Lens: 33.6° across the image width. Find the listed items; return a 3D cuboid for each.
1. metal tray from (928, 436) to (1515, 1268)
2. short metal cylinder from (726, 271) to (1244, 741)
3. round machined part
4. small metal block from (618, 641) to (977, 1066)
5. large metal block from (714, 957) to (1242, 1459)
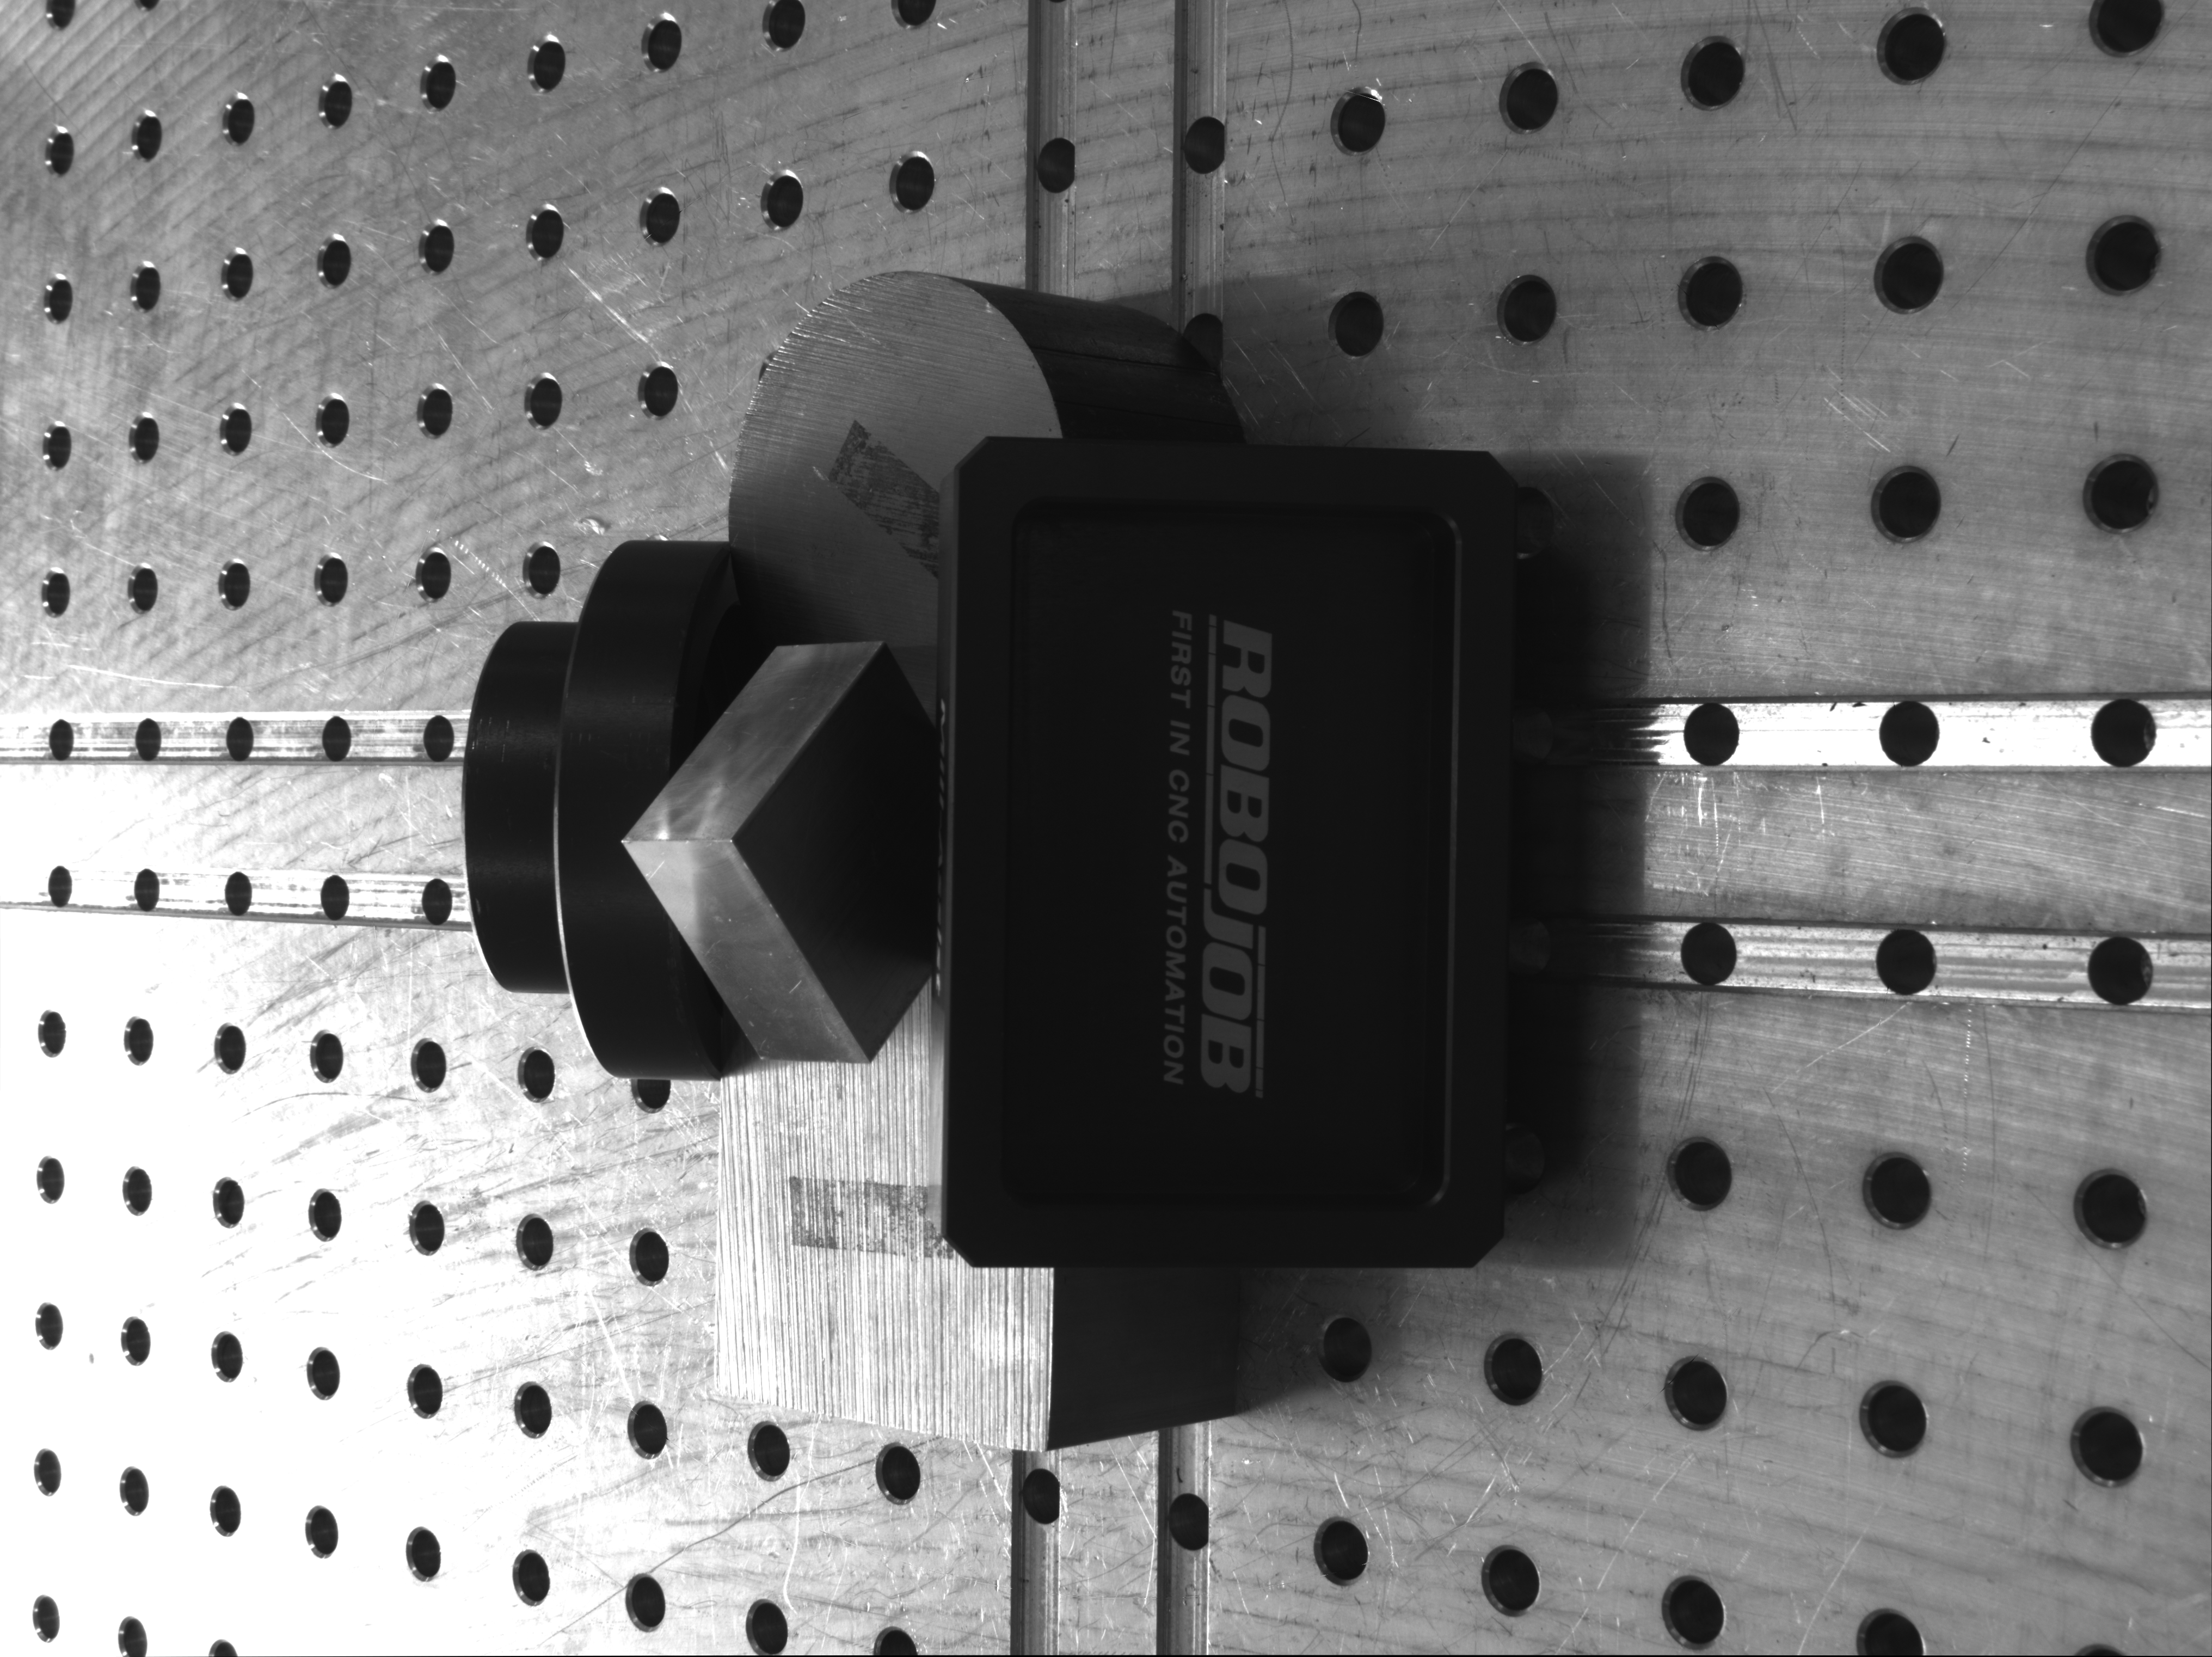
[{"bbox_3d":[0.018,0.004,0.592,0.030,0.090,0.130,-175,86,-83],"label":"metal tray"},{"bbox_3d":[-0.021,-0.055,0.648,0.080,0.050,0.080,0,90,40],"label":"short metal cylinder"},{"bbox_3d":[-0.088,-0.003,0.669,0.042,0.098,0.098,1,91,7],"label":"round machined part"},{"bbox_3d":[-0.048,0.004,0.617,0.025,0.050,0.050,0,132,37],"label":"small metal block"},{"bbox_3d":[-0.023,0.063,0.650,0.080,0.050,0.080,3,92,40],"label":"large metal block"}]
